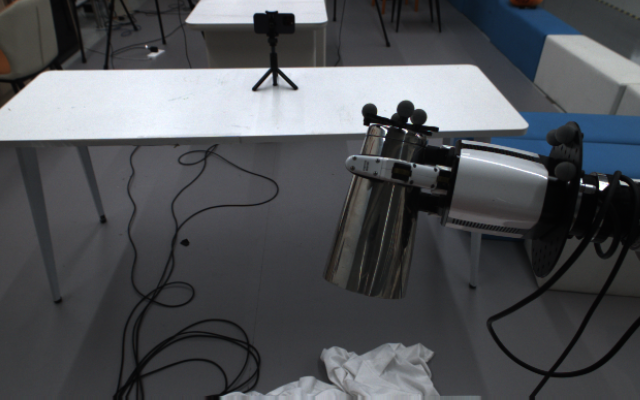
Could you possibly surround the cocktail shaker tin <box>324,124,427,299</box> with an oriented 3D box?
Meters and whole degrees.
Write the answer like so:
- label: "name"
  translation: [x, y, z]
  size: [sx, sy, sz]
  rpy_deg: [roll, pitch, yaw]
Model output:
- label: "cocktail shaker tin"
  translation: [0.068, 0.008, 0.527]
  size: [0.093, 0.170, 0.093]
  rpy_deg: [12, 3, -1]
